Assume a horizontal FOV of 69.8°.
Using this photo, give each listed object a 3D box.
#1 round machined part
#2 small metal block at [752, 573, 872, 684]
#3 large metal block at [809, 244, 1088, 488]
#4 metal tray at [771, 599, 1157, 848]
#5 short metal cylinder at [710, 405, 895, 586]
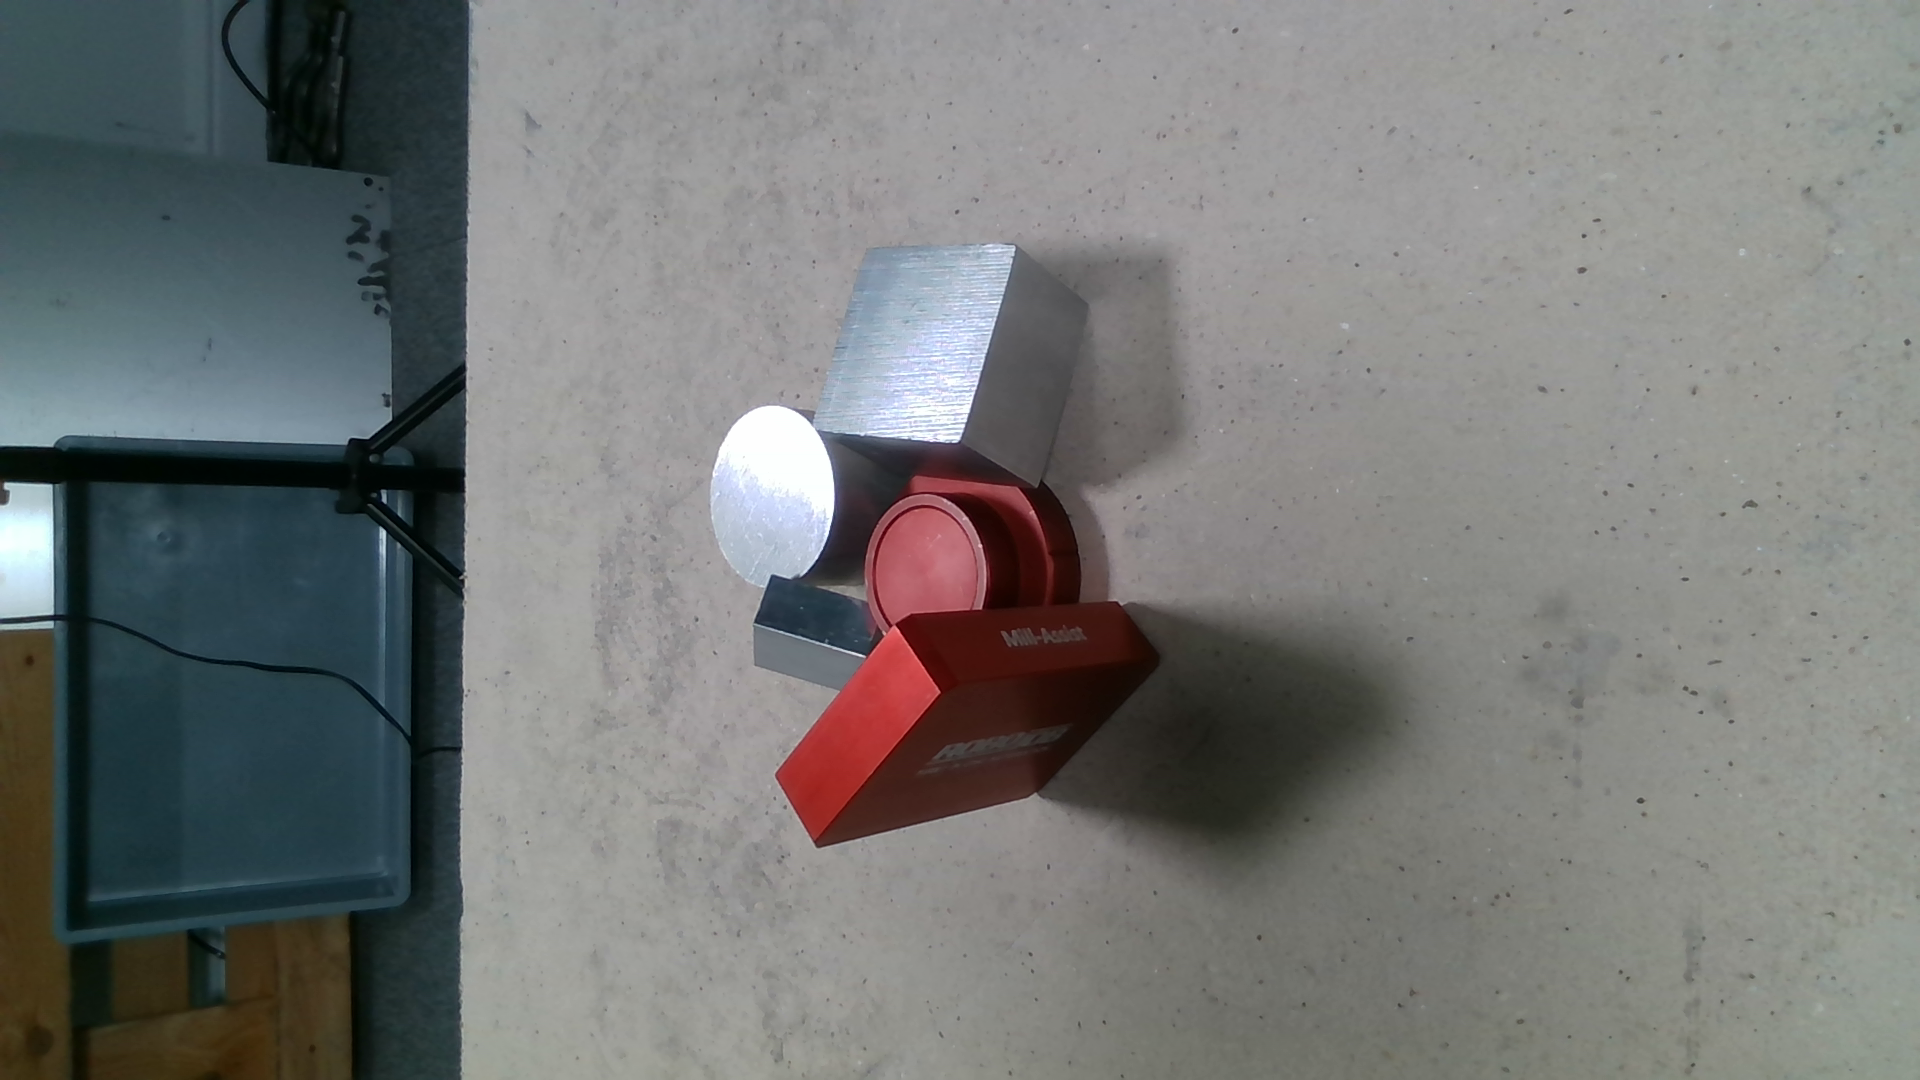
[{"bbox_3d":[-0.001,0.015,0.573,0.098,0.042,0.098,0,91,40],"label":"round machined part"},{"bbox_3d":[-0.063,0.043,0.605,0.050,0.050,0.025,106,180,-64],"label":"small metal block"},{"bbox_3d":[-0.005,-0.070,0.553,0.080,0.050,0.080,9,79,40],"label":"large metal block"},{"bbox_3d":[0.005,0.065,0.509,0.090,0.130,0.030,-52,60,28],"label":"metal tray"},{"bbox_3d":[-0.068,-0.019,0.623,0.080,0.050,0.080,0,91,40],"label":"short metal cylinder"}]
